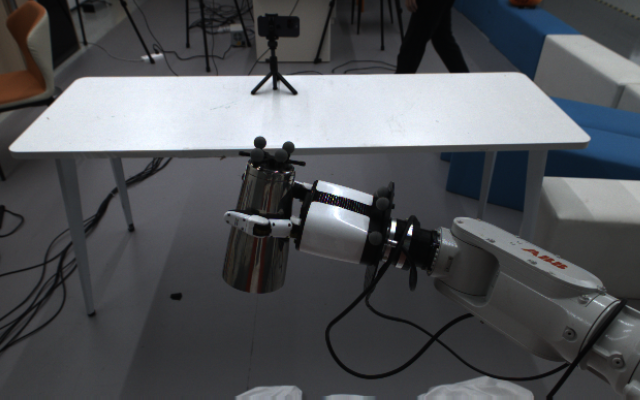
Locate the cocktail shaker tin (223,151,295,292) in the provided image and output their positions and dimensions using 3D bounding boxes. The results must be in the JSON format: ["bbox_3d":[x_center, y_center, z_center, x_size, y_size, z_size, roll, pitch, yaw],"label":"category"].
[{"bbox_3d":[-0.079,0.032,0.672,0.093,0.170,0.093,10,19,-4],"label":"cocktail shaker tin"}]
